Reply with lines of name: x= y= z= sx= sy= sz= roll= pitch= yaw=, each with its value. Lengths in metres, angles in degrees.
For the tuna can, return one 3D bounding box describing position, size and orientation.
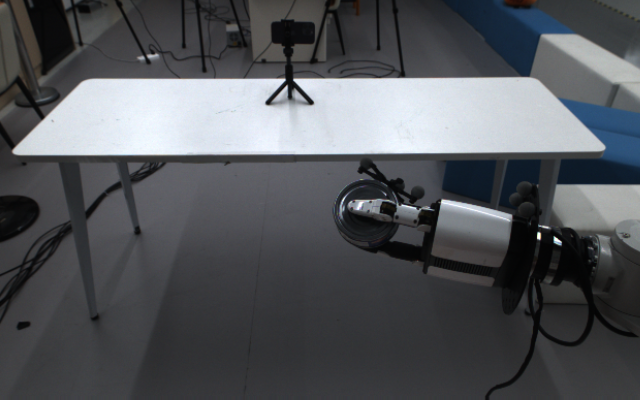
tuna can: x=0.064 y=0.023 z=0.620 sx=0.085 sy=0.034 sz=0.085 roll=-4 pitch=69 yaw=10
